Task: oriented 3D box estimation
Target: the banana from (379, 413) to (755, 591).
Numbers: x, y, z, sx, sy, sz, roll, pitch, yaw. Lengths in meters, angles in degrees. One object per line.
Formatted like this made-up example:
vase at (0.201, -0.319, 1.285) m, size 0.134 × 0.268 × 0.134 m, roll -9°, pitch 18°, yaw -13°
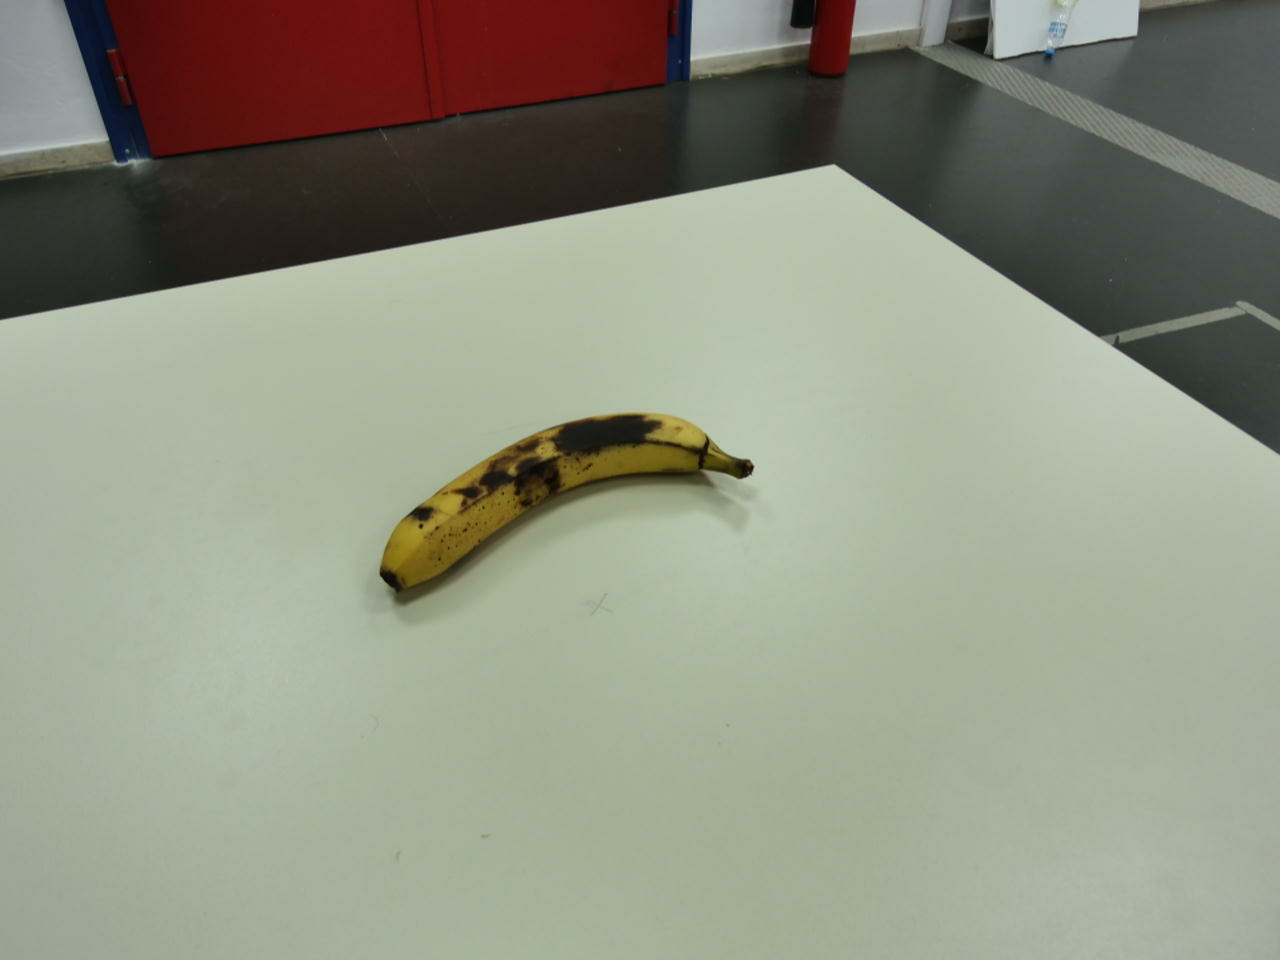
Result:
banana at (-0.049, 0.001, 0.581) m, size 0.222 × 0.037 × 0.084 m, roll -16°, pitch 42°, yaw -20°
